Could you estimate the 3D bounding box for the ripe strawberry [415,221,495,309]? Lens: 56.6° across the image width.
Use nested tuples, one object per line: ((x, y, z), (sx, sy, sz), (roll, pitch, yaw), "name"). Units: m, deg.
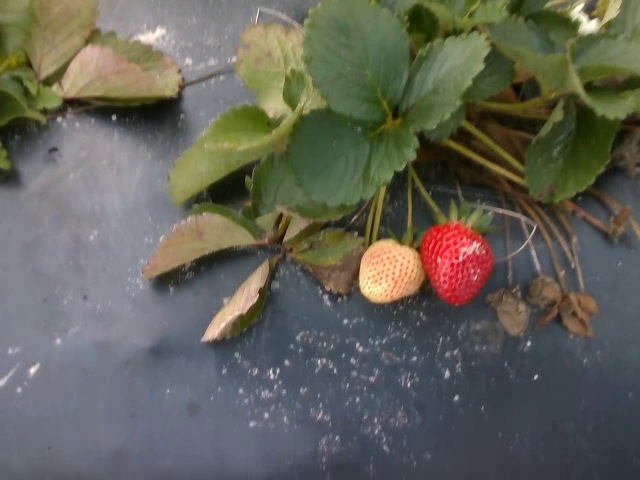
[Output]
((0.056, 0.010, 0.238), (0.034, 0.033, 0.042), (29, 42, -2), "ripe strawberry")
